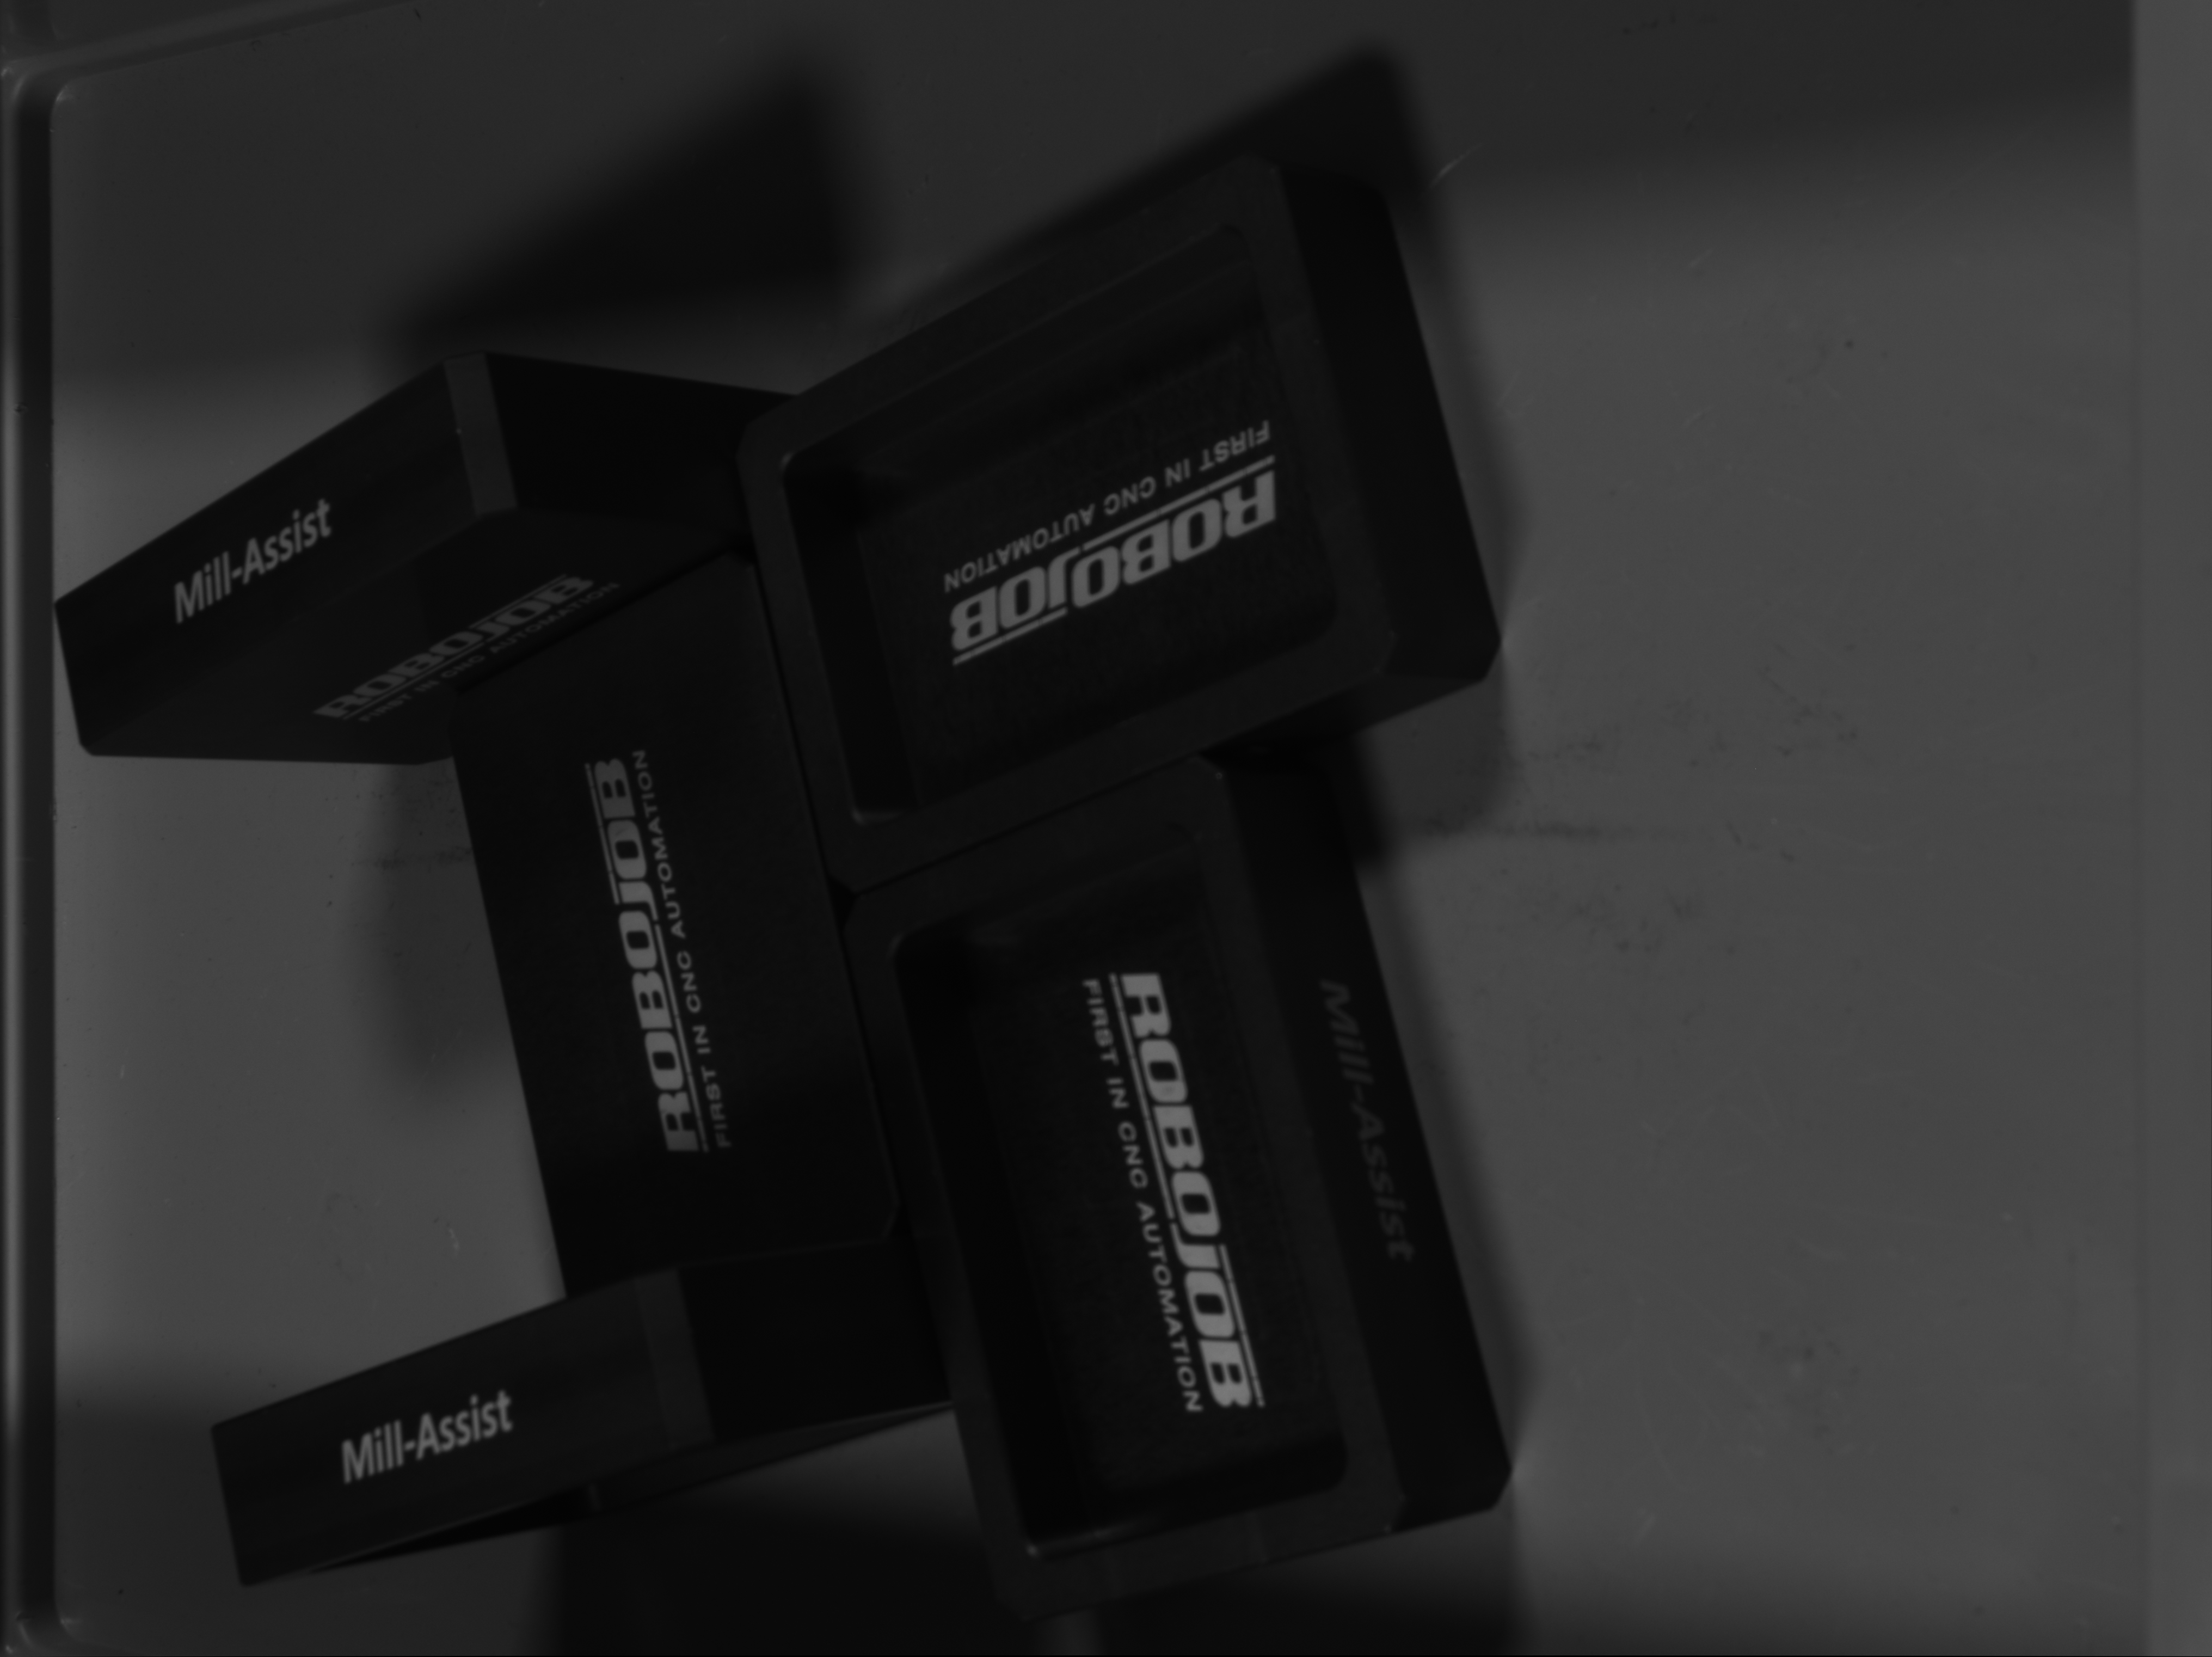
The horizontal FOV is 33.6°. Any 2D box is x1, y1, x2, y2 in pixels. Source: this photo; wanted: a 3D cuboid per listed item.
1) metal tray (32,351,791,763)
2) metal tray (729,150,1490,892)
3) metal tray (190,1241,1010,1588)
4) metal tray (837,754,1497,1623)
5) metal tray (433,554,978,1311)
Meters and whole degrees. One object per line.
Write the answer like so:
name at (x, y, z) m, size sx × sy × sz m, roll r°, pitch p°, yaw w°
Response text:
metal tray at (-0.129, -0.048, 0.696) m, size 0.130 × 0.090 × 0.030 m, roll -23°, pitch 75°, yaw 37°
metal tray at (-0.003, -0.049, 0.634) m, size 0.130 × 0.030 × 0.090 m, roll -22°, pitch 76°, yaw 37°
metal tray at (-0.092, 0.106, 0.666) m, size 0.130 × 0.090 × 0.030 m, roll -22°, pitch 76°, yaw 37°
metal tray at (0.008, 0.062, 0.625) m, size 0.090 × 0.030 × 0.130 m, roll -22°, pitch 76°, yaw 37°
metal tray at (-0.077, 0.024, 0.693) m, size 0.090 × 0.030 × 0.130 m, roll -22°, pitch 76°, yaw 37°
